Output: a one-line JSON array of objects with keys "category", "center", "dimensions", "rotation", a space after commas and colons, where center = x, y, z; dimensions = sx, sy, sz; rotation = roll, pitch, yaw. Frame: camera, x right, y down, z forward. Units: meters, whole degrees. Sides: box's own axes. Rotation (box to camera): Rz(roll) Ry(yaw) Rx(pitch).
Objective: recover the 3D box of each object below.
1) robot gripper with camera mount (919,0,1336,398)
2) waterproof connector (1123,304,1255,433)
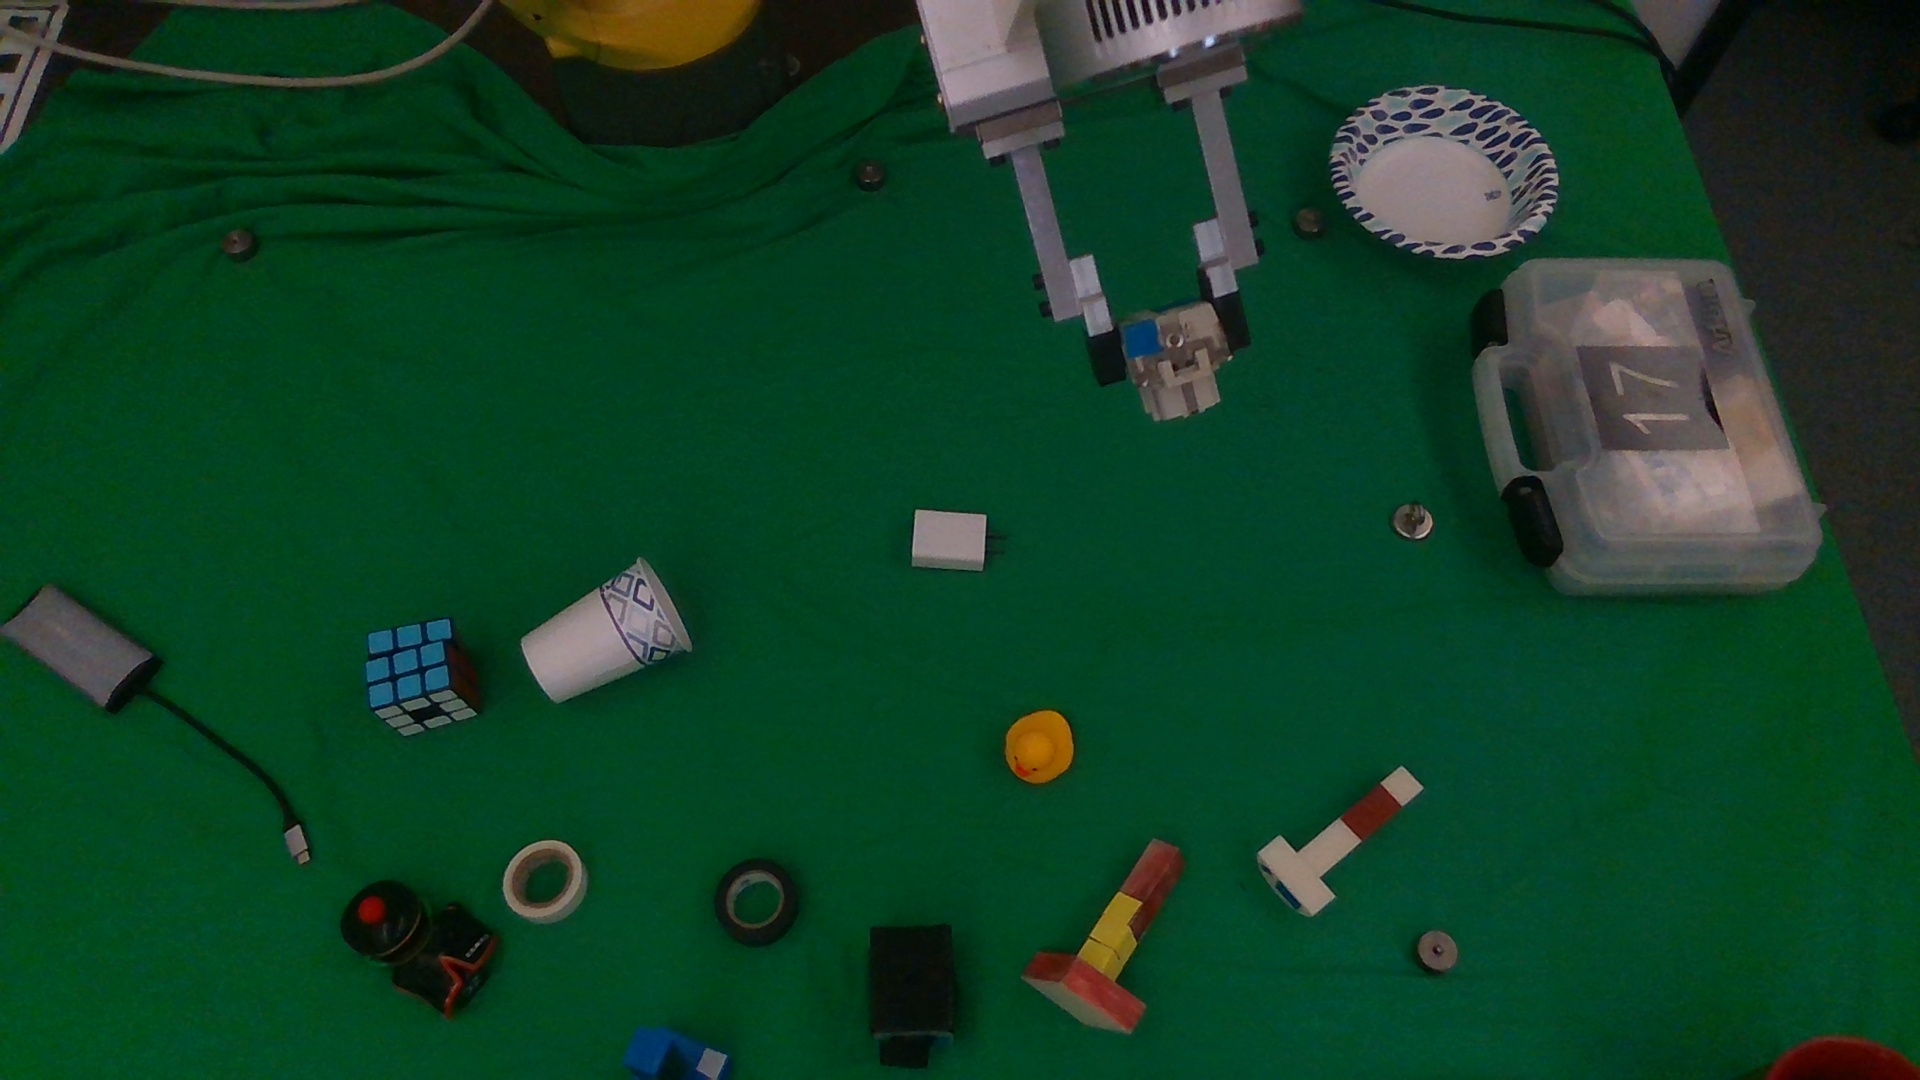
[{"category": "robot gripper with camera mount", "center": [0.062, -0.114, 0.385], "dimensions": [0.119, 0.193, 0.158], "rotation": [-15, 102, 2]}, {"category": "waterproof connector", "center": [0.079, -0.059, 0.481], "dimensions": [0.035, 0.065, 0.037], "rotation": [-20, 99, 2]}]
